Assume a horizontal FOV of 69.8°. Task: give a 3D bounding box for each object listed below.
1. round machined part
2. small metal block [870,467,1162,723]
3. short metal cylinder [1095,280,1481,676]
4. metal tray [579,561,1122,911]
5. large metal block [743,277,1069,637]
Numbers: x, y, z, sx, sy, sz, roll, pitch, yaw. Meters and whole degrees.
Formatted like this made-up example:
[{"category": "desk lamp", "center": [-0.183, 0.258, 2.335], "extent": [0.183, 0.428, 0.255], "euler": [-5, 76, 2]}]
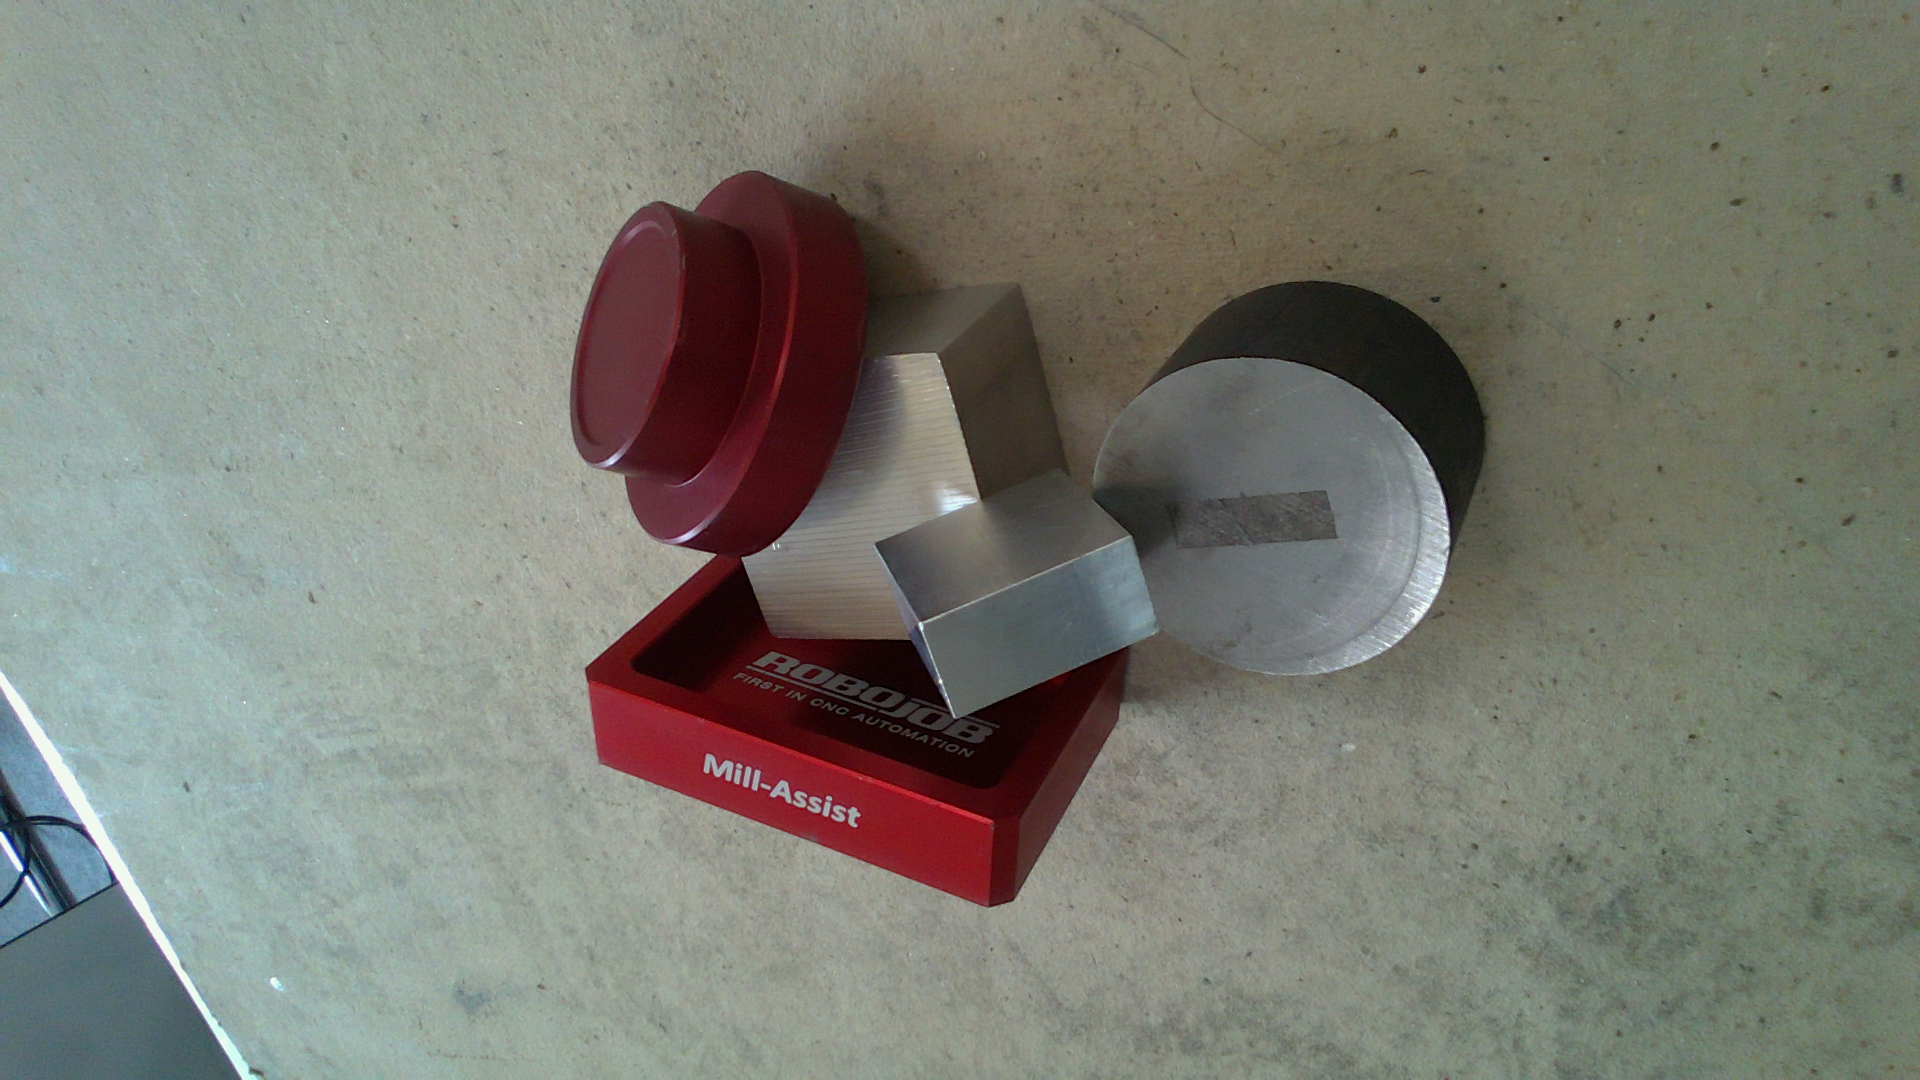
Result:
[{"category": "round machined part", "center": [-0.068, -0.047, 0.352], "extent": [0.042, 0.098, 0.098], "euler": [12, 141, -35]}, {"category": "small metal block", "center": [0.011, 0.011, 0.318], "extent": [0.050, 0.050, 0.025], "euler": [-23, 115, -7]}, {"category": "short metal cylinder", "center": [0.078, -0.015, 0.327], "extent": [0.080, 0.050, 0.080], "euler": [13, 124, 21]}, {"category": "metal tray", "center": [-0.029, 0.045, 0.394], "extent": [0.130, 0.090, 0.030], "euler": [16, 125, 19]}, {"category": "large metal block", "center": [-0.019, -0.021, 0.376], "extent": [0.080, 0.050, 0.080], "euler": [-2, 118, 29]}]
